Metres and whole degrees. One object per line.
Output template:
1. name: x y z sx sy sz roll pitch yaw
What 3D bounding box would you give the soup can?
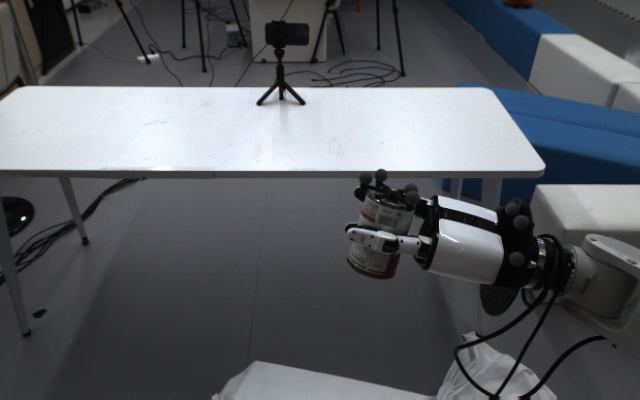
1. soup can: 0.082 0.043 0.635 0.067 0.101 0.067 13 18 -4
